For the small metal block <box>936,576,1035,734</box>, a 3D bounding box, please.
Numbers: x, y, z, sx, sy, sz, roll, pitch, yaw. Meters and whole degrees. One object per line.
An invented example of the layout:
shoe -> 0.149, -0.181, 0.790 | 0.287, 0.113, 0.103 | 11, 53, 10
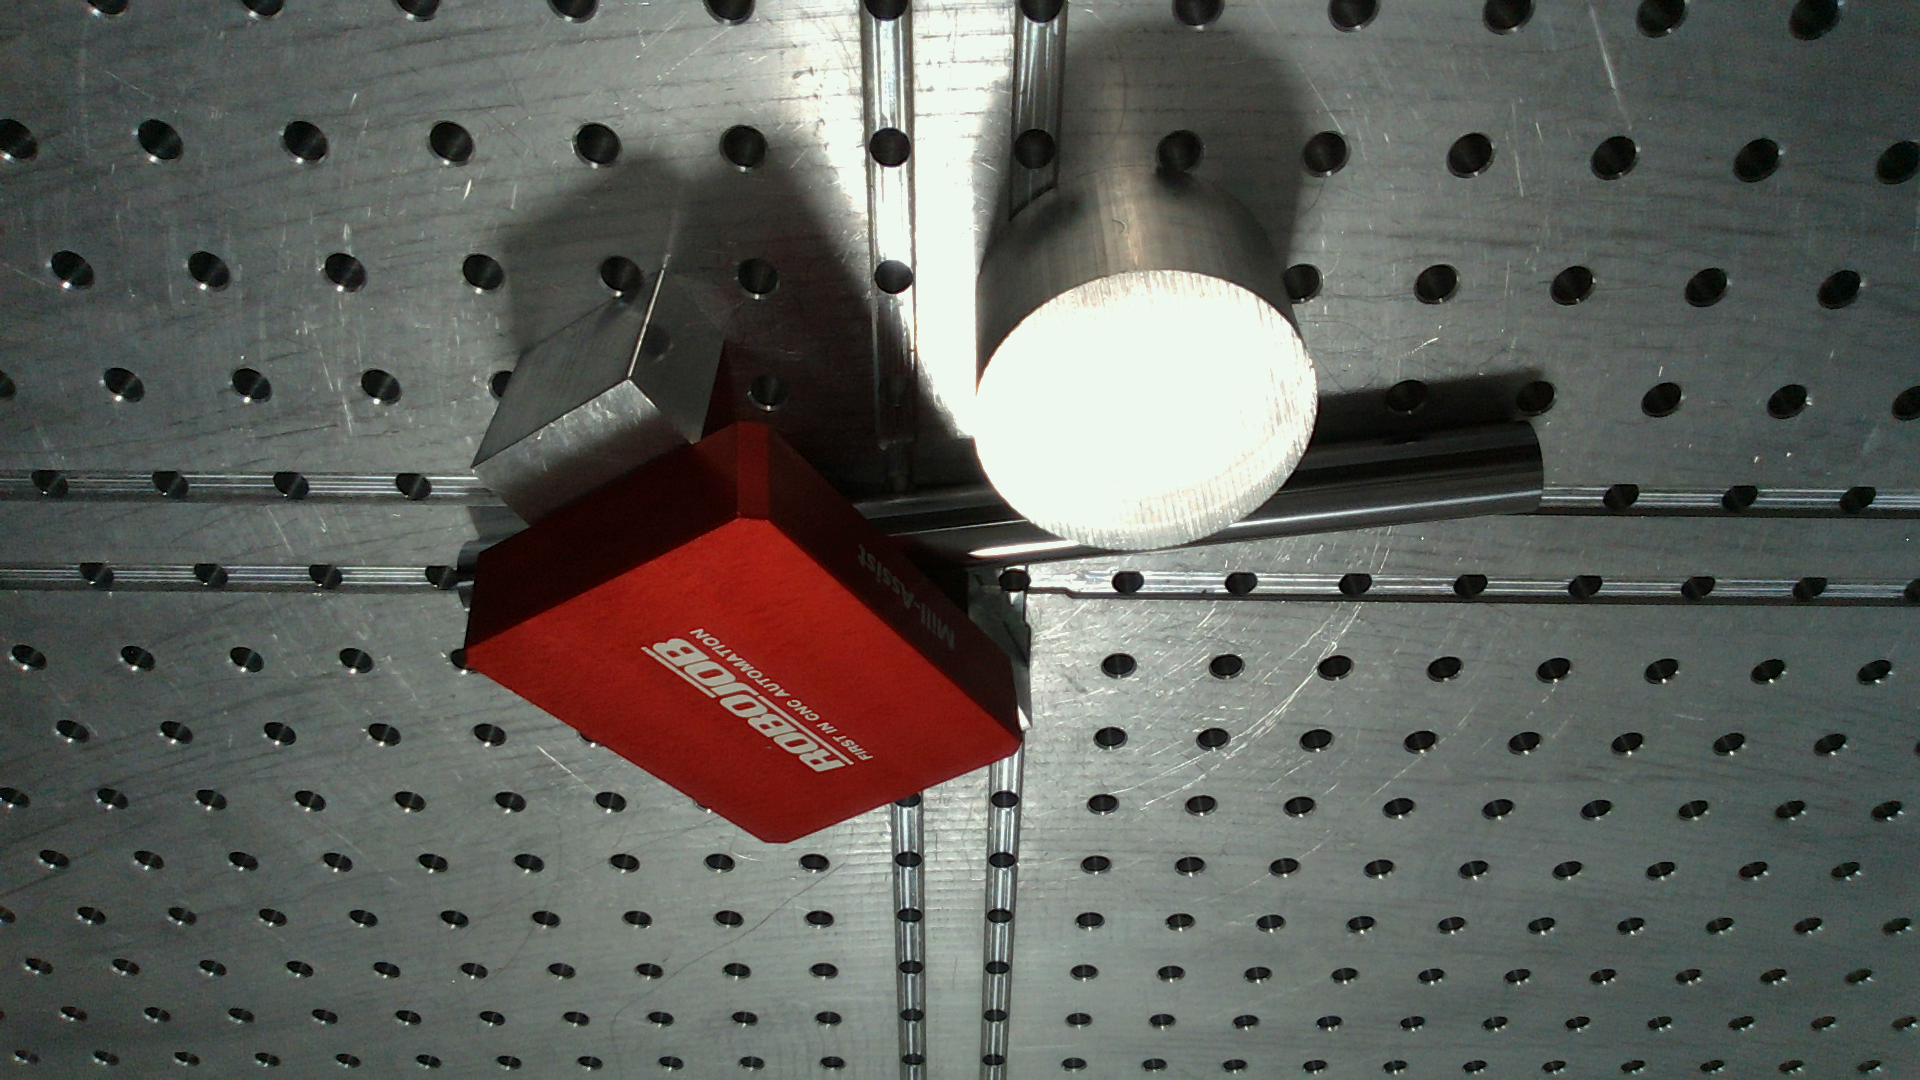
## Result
small metal block -> -0.010, 0.041, 0.427 | 0.050, 0.025, 0.050 | -19, 128, 15

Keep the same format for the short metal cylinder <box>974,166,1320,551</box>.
short metal cylinder -> 0.043, -0.044, 0.340 | 0.080, 0.050, 0.080 | 0, 130, 0

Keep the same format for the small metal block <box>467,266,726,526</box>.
small metal block -> -0.090, -0.035, 0.346 | 0.050, 0.050, 0.025 | -25, 126, 20

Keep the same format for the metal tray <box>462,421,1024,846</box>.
metal tray -> -0.052, 0.032, 0.367 | 0.090, 0.030, 0.130 | -24, 137, 19

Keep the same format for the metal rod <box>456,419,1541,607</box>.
metal rod -> 0.007, -0.004, 0.390 | 0.300, 0.025, 0.025 | -6, 130, 5
